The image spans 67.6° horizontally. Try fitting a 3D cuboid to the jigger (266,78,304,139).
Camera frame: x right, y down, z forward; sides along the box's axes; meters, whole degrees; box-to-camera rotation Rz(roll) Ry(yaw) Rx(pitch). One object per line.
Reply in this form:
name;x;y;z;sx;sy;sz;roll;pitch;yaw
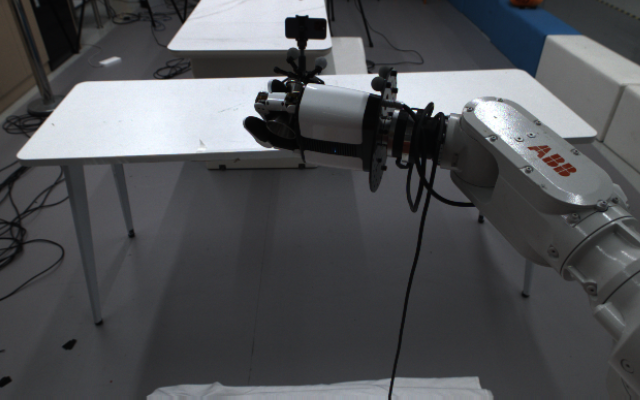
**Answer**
jigger;-0.041;-0.125;0.654;0.043;0.043;0.071;16;70;19
